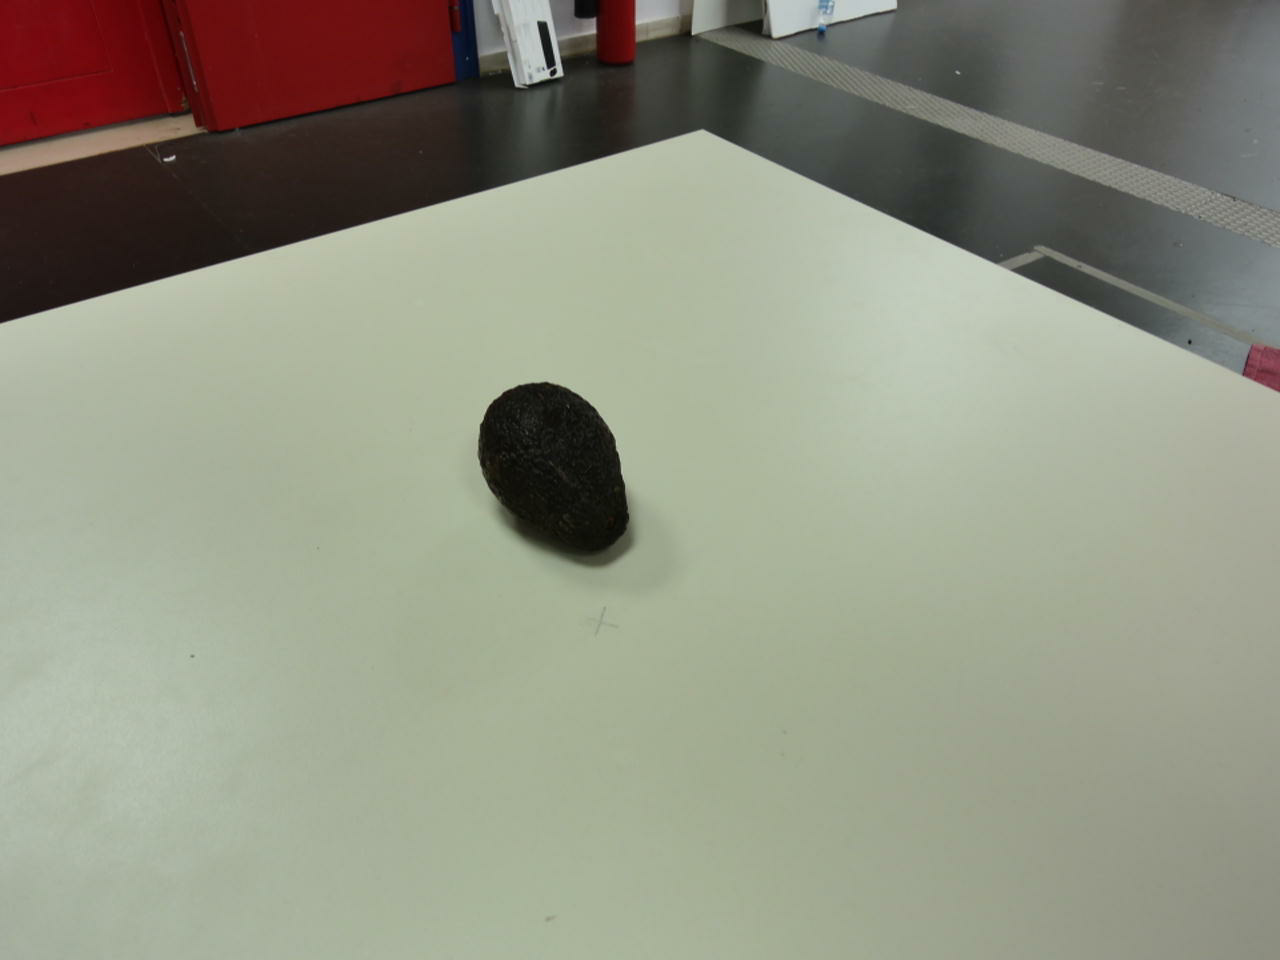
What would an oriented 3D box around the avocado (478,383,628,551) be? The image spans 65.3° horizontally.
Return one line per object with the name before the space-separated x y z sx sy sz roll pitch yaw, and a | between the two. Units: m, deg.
avocado | -0.045 -0.009 0.505 0.070 0.069 0.090 -7 38 -11
